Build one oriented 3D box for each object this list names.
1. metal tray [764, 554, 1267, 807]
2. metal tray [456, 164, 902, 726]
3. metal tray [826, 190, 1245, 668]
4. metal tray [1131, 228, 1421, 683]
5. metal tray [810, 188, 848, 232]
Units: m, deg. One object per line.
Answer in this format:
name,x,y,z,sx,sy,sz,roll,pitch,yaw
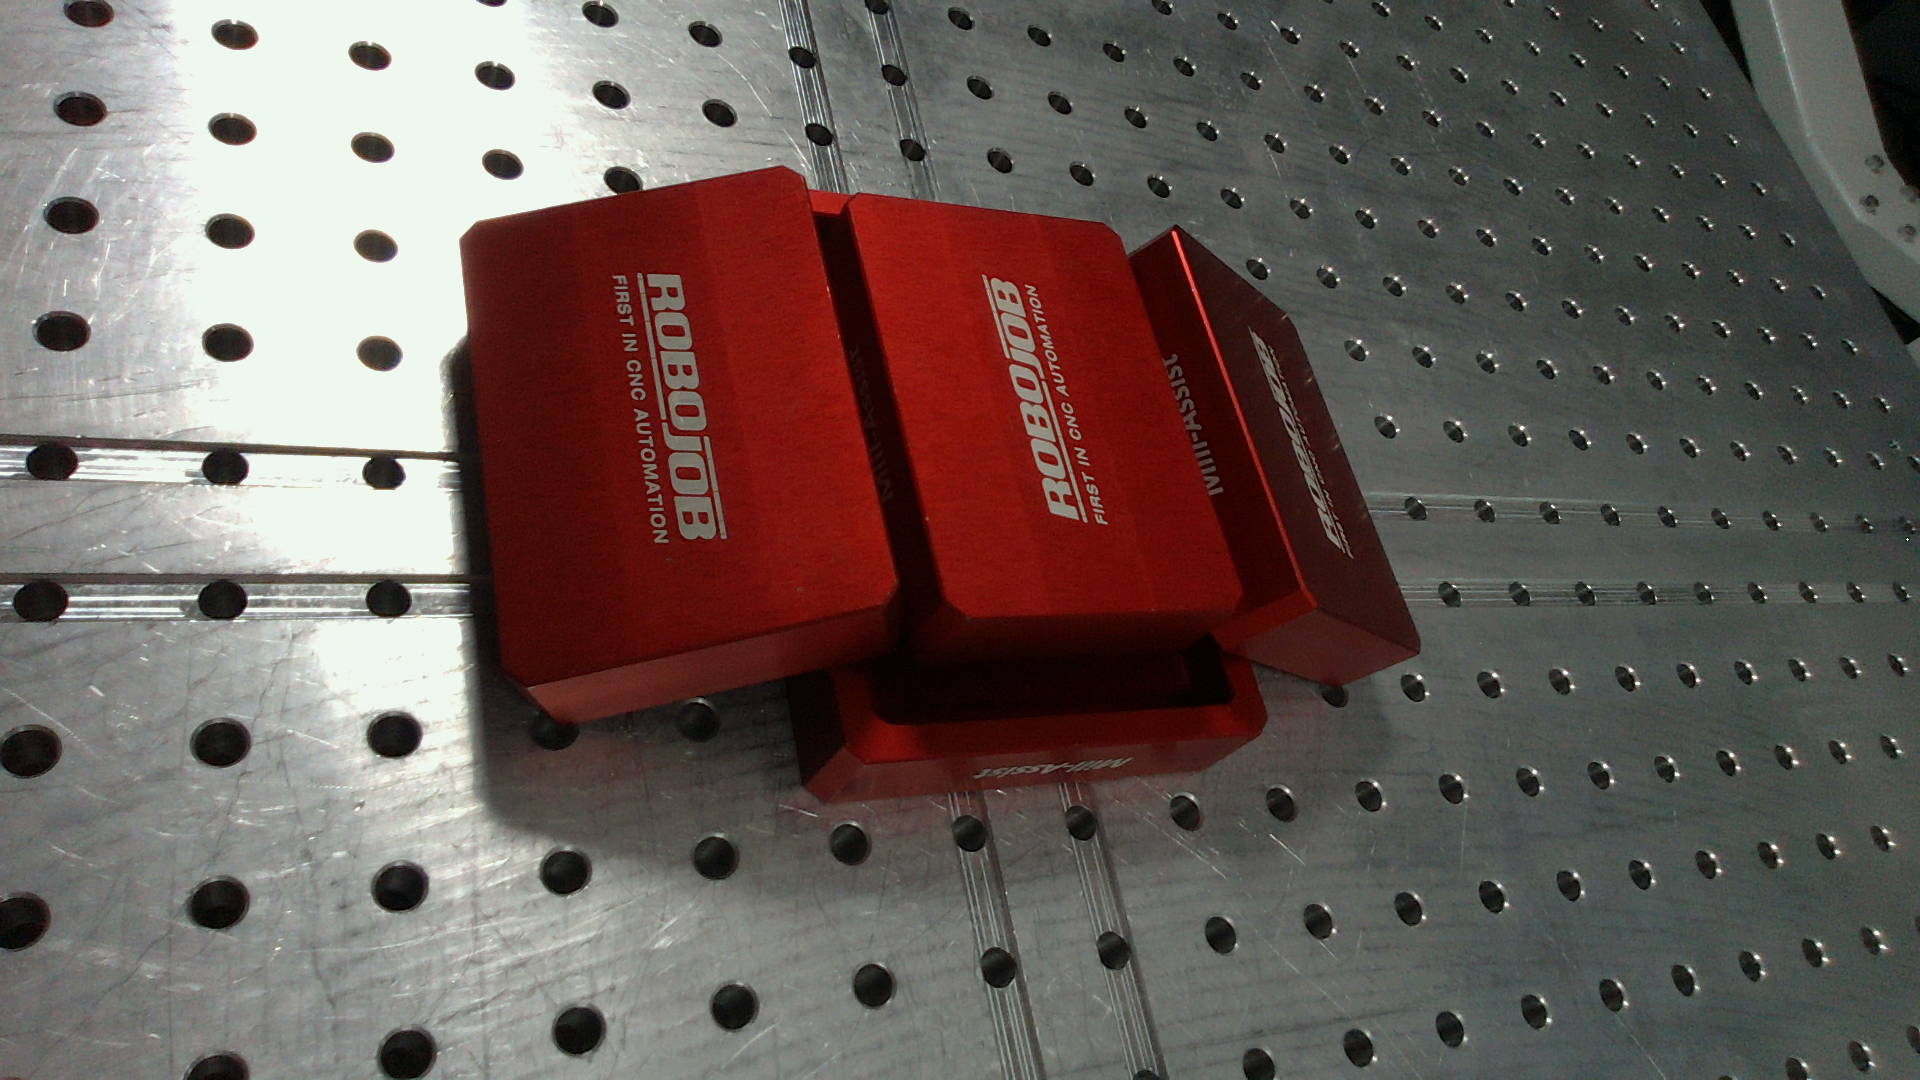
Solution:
metal tray,0.015,0.022,0.384,0.130,0.030,0.090,0,62,-28
metal tray,-0.072,-0.027,0.345,0.090,0.030,0.130,-12,66,-5
metal tray,0.016,-0.032,0.379,0.090,0.030,0.130,0,62,-28
metal tray,0.094,-0.025,0.431,0.090,0.030,0.130,19,49,-51
metal tray,-0.006,-0.059,0.422,0.130,0.030,0.090,0,62,-28
